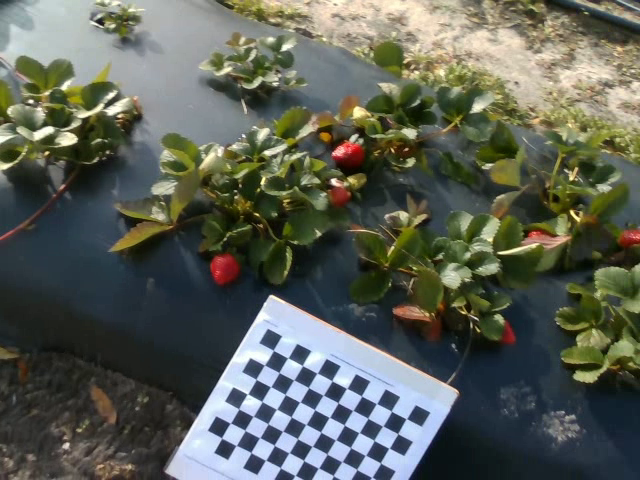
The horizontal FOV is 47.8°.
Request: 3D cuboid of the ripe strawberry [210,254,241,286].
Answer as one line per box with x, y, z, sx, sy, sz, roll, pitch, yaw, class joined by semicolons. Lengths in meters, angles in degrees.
-0.114;0.030;0.781;0.041;0.041;0.047;-2;31;14;ripe strawberry
